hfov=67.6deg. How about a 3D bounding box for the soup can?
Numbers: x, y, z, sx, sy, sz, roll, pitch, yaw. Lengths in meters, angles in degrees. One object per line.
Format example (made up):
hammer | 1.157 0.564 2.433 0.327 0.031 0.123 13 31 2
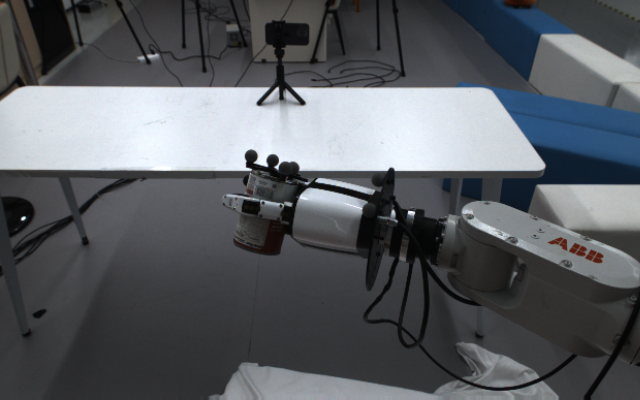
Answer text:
soup can | -0.072 0.016 0.650 0.067 0.101 0.067 15 7 -2
